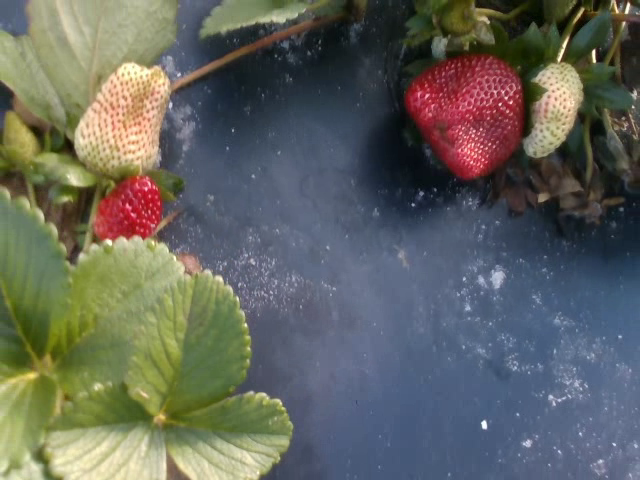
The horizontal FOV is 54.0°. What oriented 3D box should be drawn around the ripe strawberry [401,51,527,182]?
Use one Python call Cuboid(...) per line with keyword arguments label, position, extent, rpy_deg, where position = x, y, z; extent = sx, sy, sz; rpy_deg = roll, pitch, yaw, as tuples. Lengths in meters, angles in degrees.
Cuboid(label="ripe strawberry", position=(0.062, -0.051, 0.273), extent=(0.057, 0.058, 0.070), rpy_deg=(8, 19, 31))
